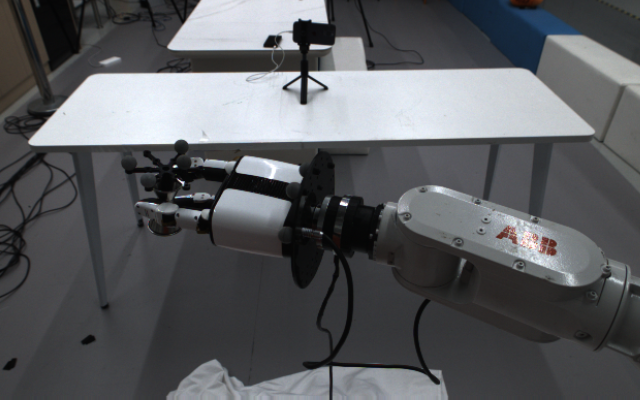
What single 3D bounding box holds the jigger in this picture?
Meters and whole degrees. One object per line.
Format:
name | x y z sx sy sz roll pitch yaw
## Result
jigger | -0.190 0.005 0.598 0.043 0.071 0.043 10 36 -7
